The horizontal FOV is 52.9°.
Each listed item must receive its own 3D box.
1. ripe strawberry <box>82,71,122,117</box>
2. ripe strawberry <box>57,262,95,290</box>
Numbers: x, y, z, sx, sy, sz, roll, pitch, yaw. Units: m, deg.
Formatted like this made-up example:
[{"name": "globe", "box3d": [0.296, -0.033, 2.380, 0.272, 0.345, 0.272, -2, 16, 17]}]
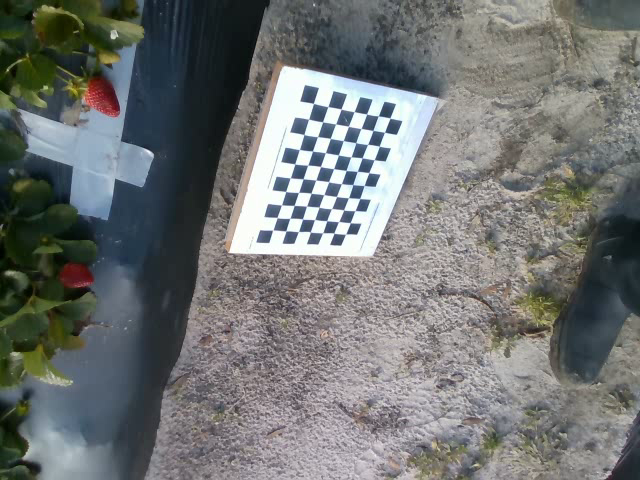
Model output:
[{"name": "ripe strawberry", "box3d": [-0.122, -0.079, 0.363, 0.023, 0.026, 0.021, -43, 8, 40]}, {"name": "ripe strawberry", "box3d": [-0.158, 0.023, 0.414, 0.022, 0.021, 0.018, 18, -44, -6]}]
